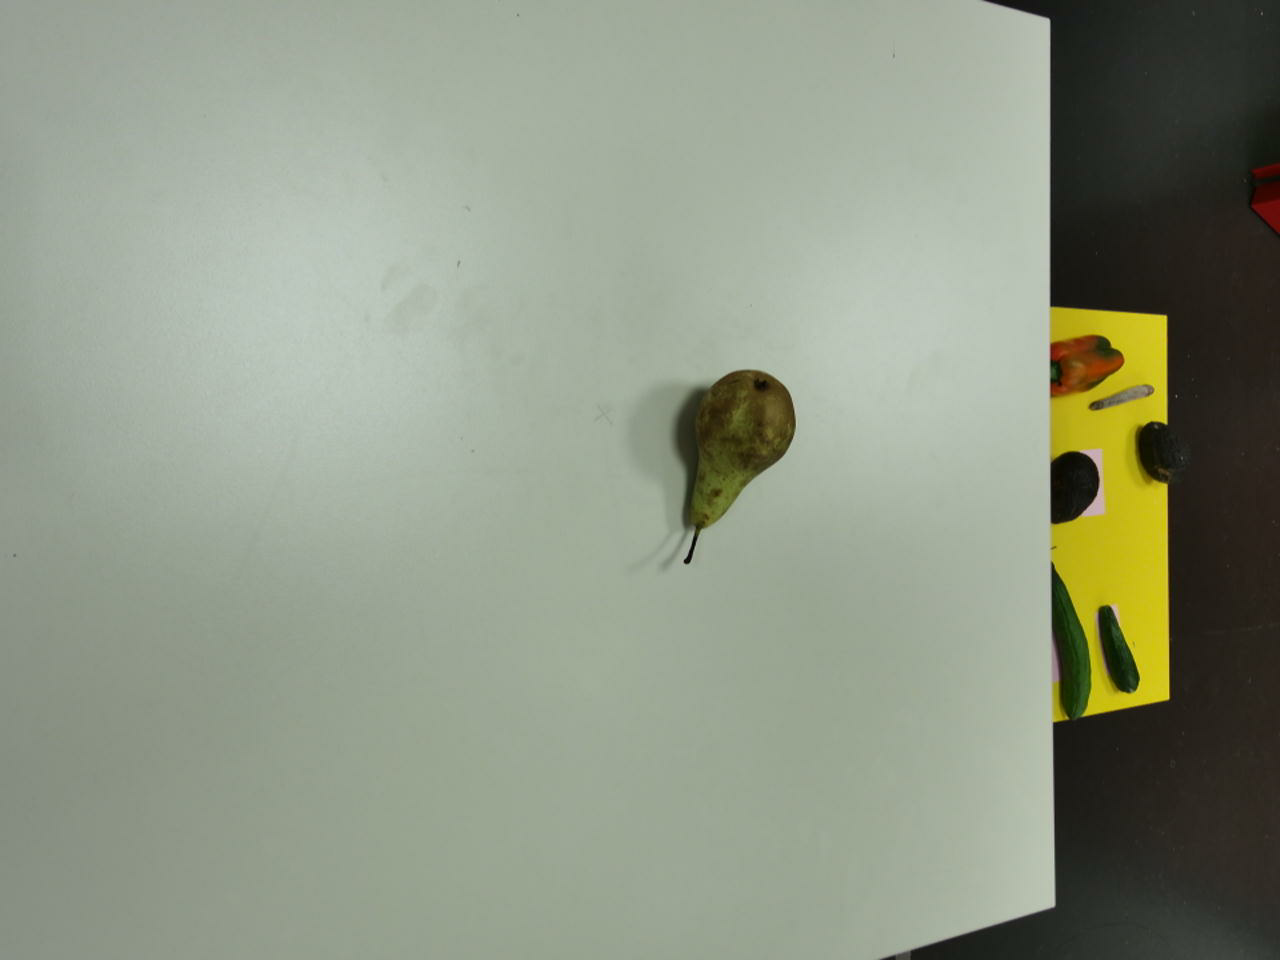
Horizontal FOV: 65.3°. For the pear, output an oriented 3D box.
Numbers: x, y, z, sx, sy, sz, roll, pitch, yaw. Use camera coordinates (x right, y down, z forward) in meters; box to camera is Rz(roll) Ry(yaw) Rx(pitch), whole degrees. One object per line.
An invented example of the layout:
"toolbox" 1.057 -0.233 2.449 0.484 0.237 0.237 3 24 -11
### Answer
"pear" 0.073 -0.009 0.731 0.071 0.075 0.144 9 87 -28
